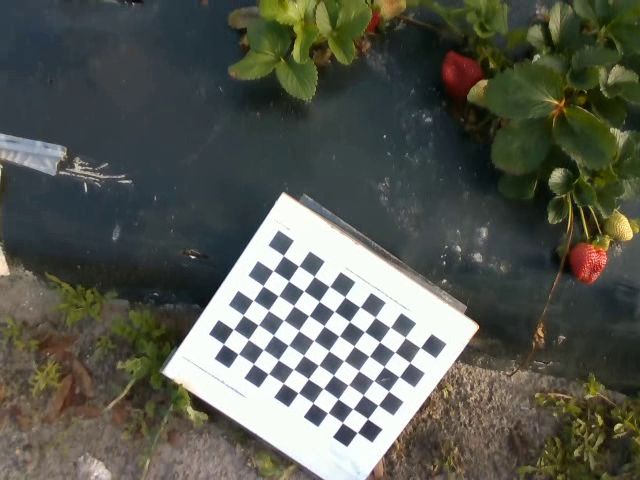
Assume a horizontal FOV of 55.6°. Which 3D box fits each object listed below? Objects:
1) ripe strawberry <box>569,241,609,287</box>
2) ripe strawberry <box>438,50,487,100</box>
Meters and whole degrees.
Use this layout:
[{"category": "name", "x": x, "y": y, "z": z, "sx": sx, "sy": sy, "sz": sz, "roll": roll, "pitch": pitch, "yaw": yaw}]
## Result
[{"category": "ripe strawberry", "x": 0.330, "y": 0.030, "z": 0.740, "sx": 0.047, "sy": 0.050, "sz": 0.035, "roll": 14, "pitch": 2, "yaw": 0}, {"category": "ripe strawberry", "x": 0.185, "y": -0.222, "z": 0.808, "sx": 0.070, "sy": 0.058, "sz": 0.057, "roll": 41, "pitch": 7, "yaw": -29}]
